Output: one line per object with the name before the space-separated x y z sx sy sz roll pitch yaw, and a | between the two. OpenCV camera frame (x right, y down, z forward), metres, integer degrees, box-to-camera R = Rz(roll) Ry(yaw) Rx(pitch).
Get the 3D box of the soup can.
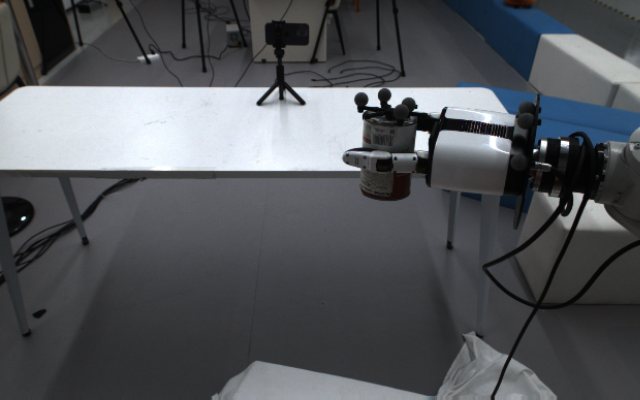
soup can | 0.088 -0.059 0.619 0.067 0.101 0.067 1 25 0
